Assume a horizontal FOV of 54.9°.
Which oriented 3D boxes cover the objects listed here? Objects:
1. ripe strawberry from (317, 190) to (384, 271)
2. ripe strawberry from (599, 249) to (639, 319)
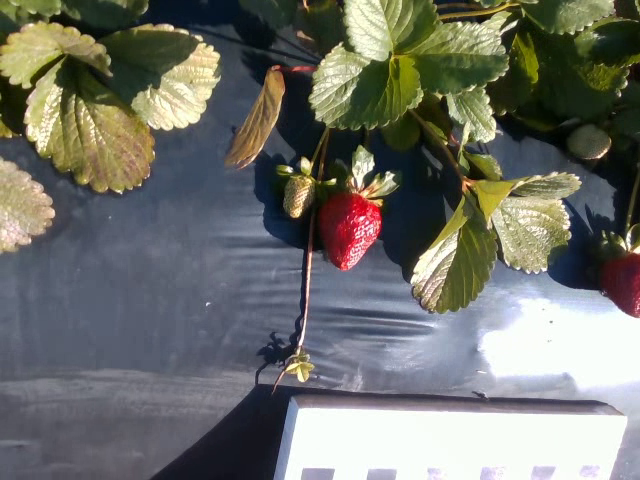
[{"bbox_3d":[0.015,-0.003,0.348,0.041,0.053,0.043,18,-34,-25],"label":"ripe strawberry"},{"bbox_3d":[0.209,0.035,0.411,0.043,0.050,0.042,-24,-56,37],"label":"ripe strawberry"}]
